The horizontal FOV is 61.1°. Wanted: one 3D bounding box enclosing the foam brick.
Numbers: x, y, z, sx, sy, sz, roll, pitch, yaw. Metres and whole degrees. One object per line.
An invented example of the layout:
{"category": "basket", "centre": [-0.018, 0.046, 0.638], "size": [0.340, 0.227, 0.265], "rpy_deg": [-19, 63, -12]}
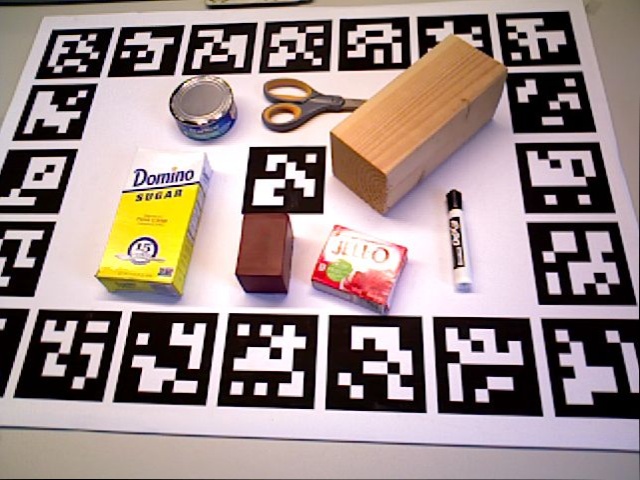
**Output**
{"category": "foam brick", "centre": [-0.062, 0.026, 0.613], "size": [0.053, 0.052, 0.077], "rpy_deg": [3, 65, 7]}

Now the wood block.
{"category": "wood block", "centre": [0.120, -0.125, 0.652], "size": [0.204, 0.092, 0.090], "rpy_deg": [-41, 67, -14]}

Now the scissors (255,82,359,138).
{"category": "scissors", "centre": [0.010, -0.168, 0.722], "size": [0.203, 0.016, 0.086], "rpy_deg": [7, 66, 11]}

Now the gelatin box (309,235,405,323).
{"category": "gelatin box", "centre": [0.042, 0.042, 0.611], "size": [0.089, 0.030, 0.072], "rpy_deg": [18, 68, 14]}

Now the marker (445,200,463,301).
{"category": "marker", "centre": [0.152, 0.010, 0.619], "size": [0.019, 0.020, 0.120], "rpy_deg": [2, 67, 6]}

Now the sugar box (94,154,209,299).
{"category": "sugar box", "centre": [-0.199, -0.019, 0.658], "size": [0.093, 0.046, 0.174], "rpy_deg": [5, 65, 7]}

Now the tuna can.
{"category": "tuna can", "centre": [-0.163, -0.169, 0.727], "size": [0.085, 0.034, 0.085], "rpy_deg": [-3, 65, 5]}
